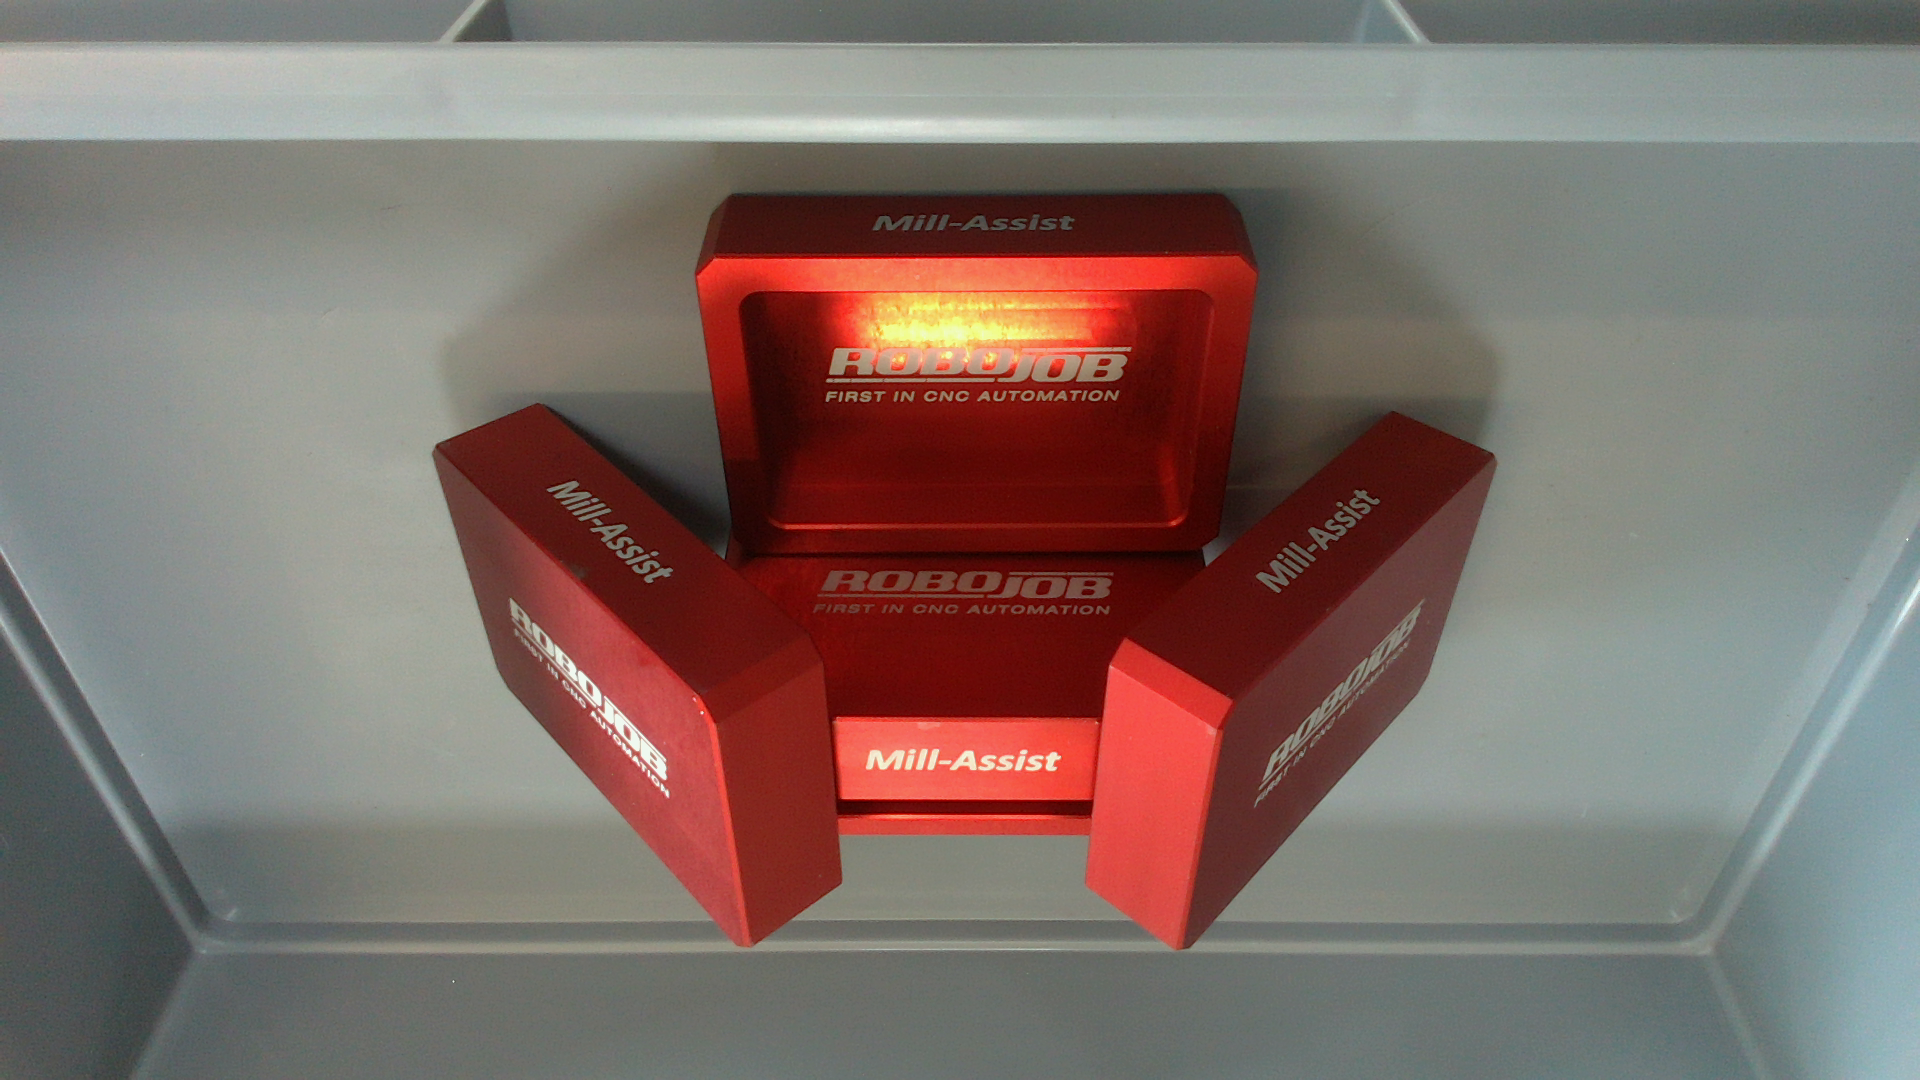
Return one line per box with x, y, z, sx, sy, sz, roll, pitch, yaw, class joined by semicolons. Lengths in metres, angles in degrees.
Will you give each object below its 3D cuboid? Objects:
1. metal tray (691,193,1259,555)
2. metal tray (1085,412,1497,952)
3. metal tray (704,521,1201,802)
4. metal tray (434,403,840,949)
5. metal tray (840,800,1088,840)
0.004;-0.040;0.351;0.130;0.030;0.090;-1;131;-1;metal tray
0.087;0.034;0.358;0.030;0.130;0.090;31;138;31;metal tray
0.000;0.025;0.368;0.130;0.090;0.030;0;130;-1;metal tray
-0.084;0.033;0.356;0.030;0.130;0.090;-30;138;-31;metal tray
0.001;0.054;0.429;0.130;0.030;0.090;0;130;-1;metal tray
